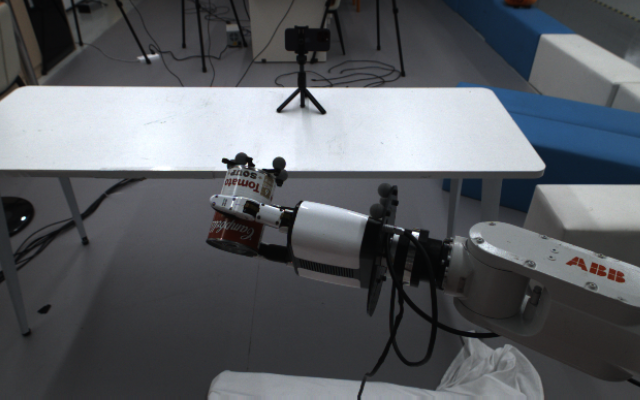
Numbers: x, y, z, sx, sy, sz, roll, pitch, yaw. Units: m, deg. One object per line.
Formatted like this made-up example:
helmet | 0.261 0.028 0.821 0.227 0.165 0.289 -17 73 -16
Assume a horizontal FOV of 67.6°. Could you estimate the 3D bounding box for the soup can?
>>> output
soup can | -0.099 0.015 0.624 0.067 0.067 0.101 9 72 10
